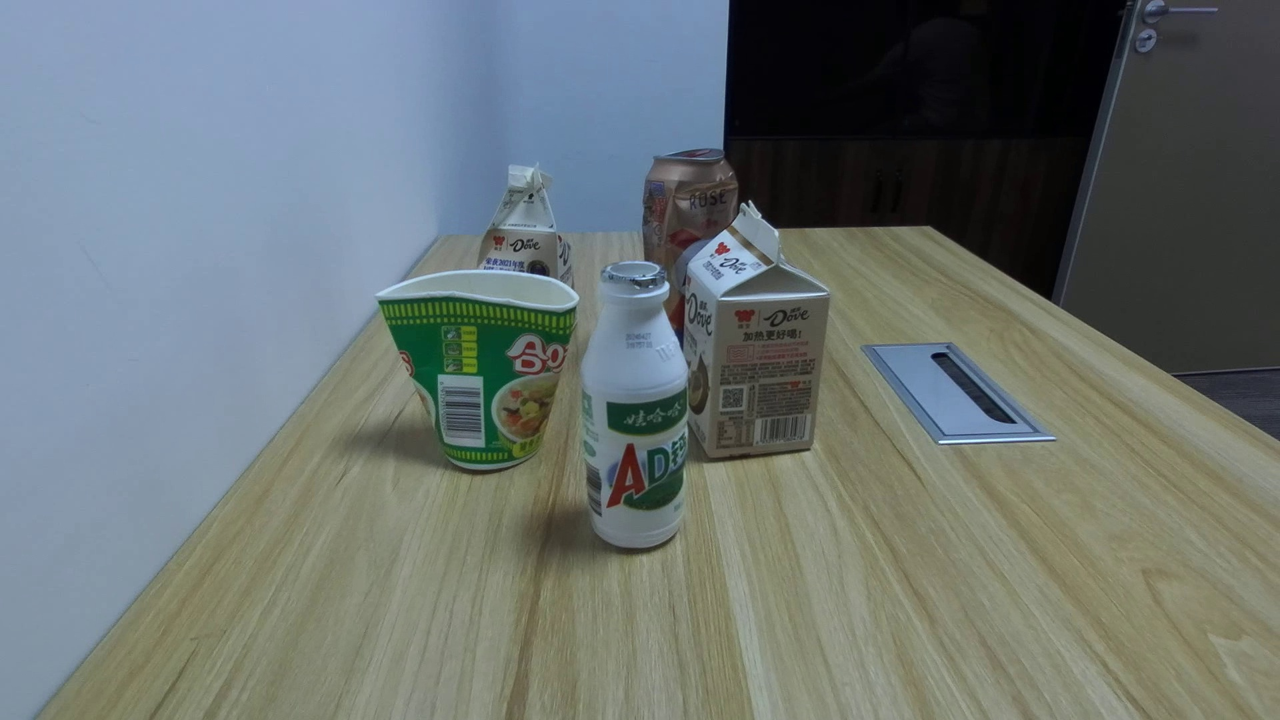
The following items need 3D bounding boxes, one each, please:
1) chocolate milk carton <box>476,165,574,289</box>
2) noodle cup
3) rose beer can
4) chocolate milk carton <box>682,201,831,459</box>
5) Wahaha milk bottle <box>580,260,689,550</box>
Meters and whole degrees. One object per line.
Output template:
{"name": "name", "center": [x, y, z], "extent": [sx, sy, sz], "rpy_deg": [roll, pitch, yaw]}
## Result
{"name": "chocolate milk carton", "center": [-0.095, -0.094, 0.607], "extent": [0.073, 0.155, 0.076], "rpy_deg": [5, 26, 7]}
{"name": "noodle cup", "center": [-0.095, 0.005, 0.446], "extent": [0.114, 0.111, 0.070], "rpy_deg": [16, 32, 29]}
{"name": "rose beer can", "center": [0.043, -0.075, 0.556], "extent": [0.076, 0.167, 0.065], "rpy_deg": [-13, 14, -18]}
{"name": "chocolate milk carton", "center": [0.073, -0.021, 0.453], "extent": [0.074, 0.148, 0.075], "rpy_deg": [-4, 25, -9]}
{"name": "Wahaha milk bottle", "center": [-0.002, 0.024, 0.361], "extent": [0.056, 0.148, 0.056], "rpy_deg": [-1, 26, 1]}
